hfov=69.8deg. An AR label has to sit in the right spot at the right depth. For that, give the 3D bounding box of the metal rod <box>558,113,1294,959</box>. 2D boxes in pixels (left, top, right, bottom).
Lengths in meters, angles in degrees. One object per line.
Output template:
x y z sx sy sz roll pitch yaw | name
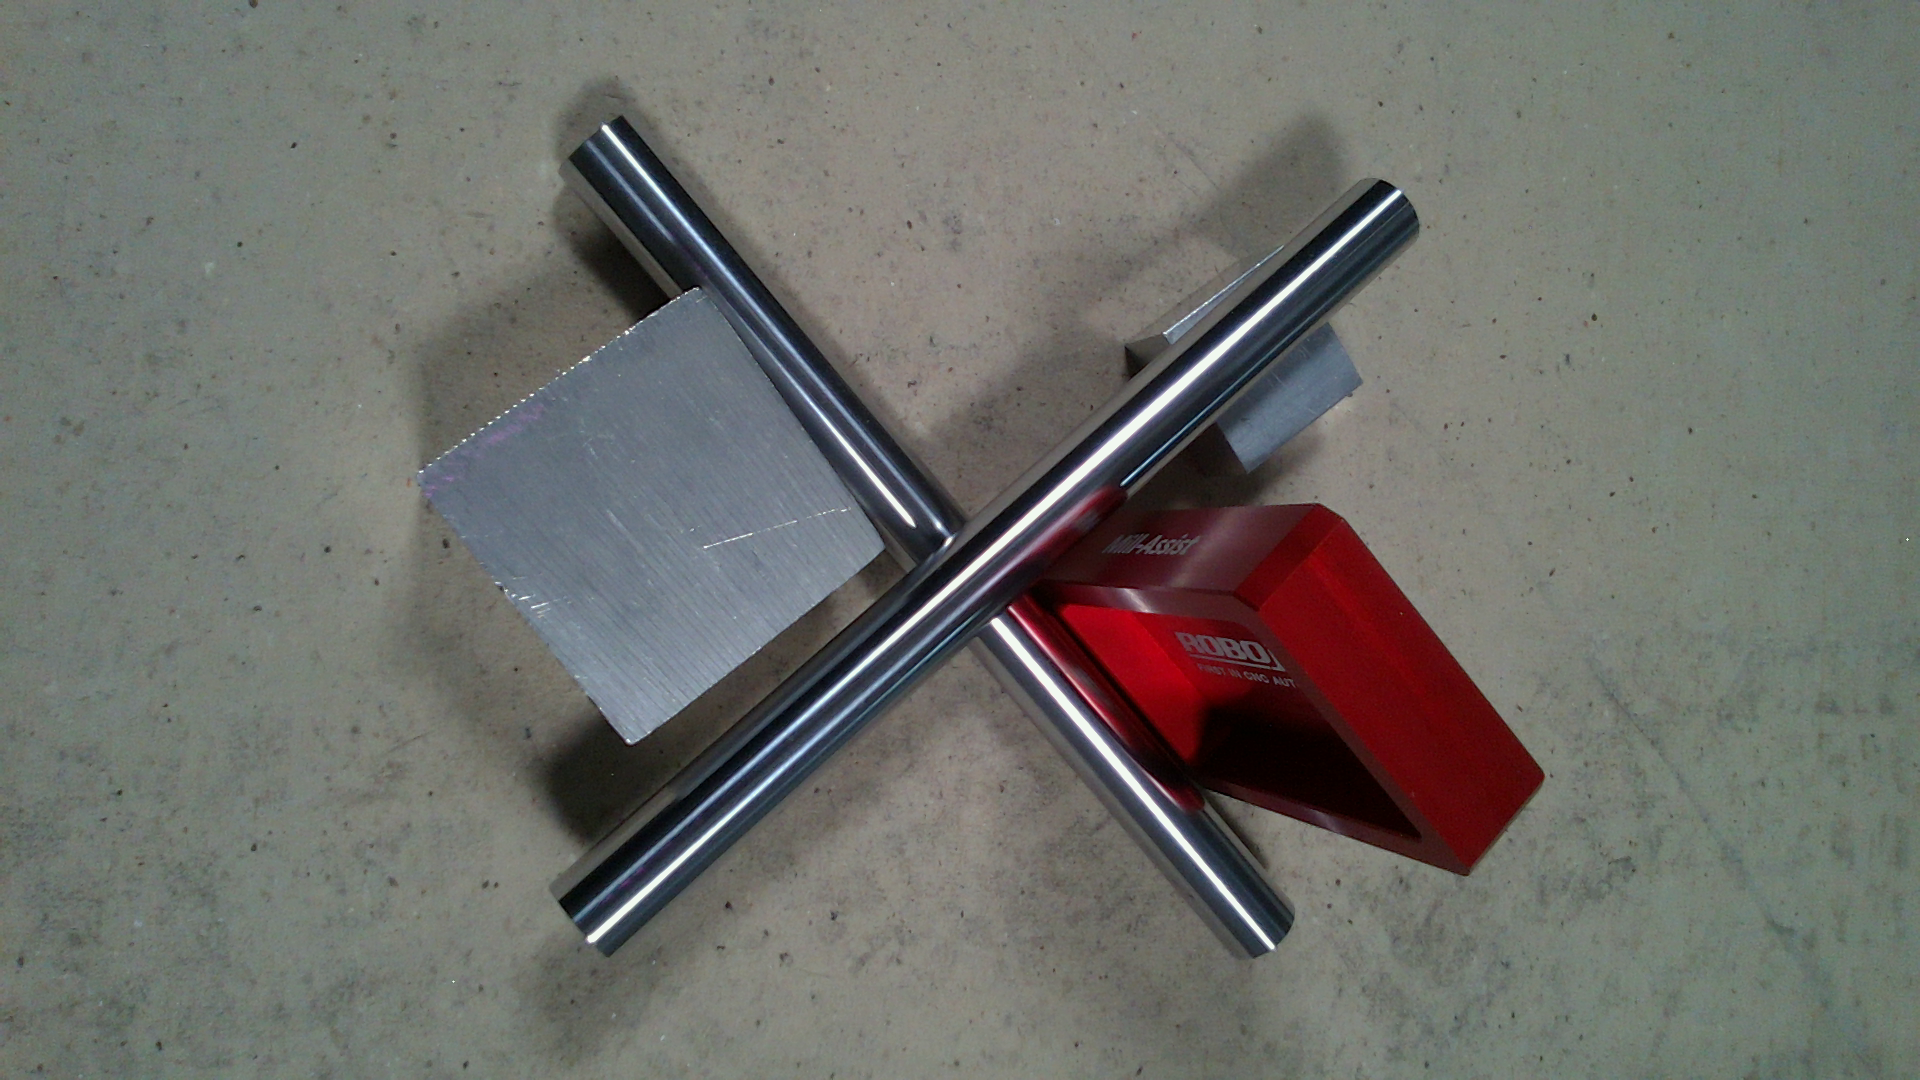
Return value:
-0.001 0.009 0.393 0.025 0.025 0.300 -44 104 -15 | metal rod

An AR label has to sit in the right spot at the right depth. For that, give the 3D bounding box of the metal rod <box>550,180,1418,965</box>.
0.018 -0.002 0.373 0.301 0.025 0.025 -41 103 -15 | metal rod

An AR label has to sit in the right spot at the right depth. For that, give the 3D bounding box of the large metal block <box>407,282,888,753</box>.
-0.079 -0.006 0.350 0.080 0.050 0.080 -39 102 -16 | large metal block

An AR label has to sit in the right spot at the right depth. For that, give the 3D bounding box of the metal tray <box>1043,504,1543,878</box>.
0.078 0.035 0.366 0.030 0.130 0.090 -44 103 -14 | metal tray

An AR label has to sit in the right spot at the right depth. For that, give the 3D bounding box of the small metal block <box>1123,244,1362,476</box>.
0.087 -0.055 0.425 0.050 0.025 0.050 -37 102 -16 | small metal block
